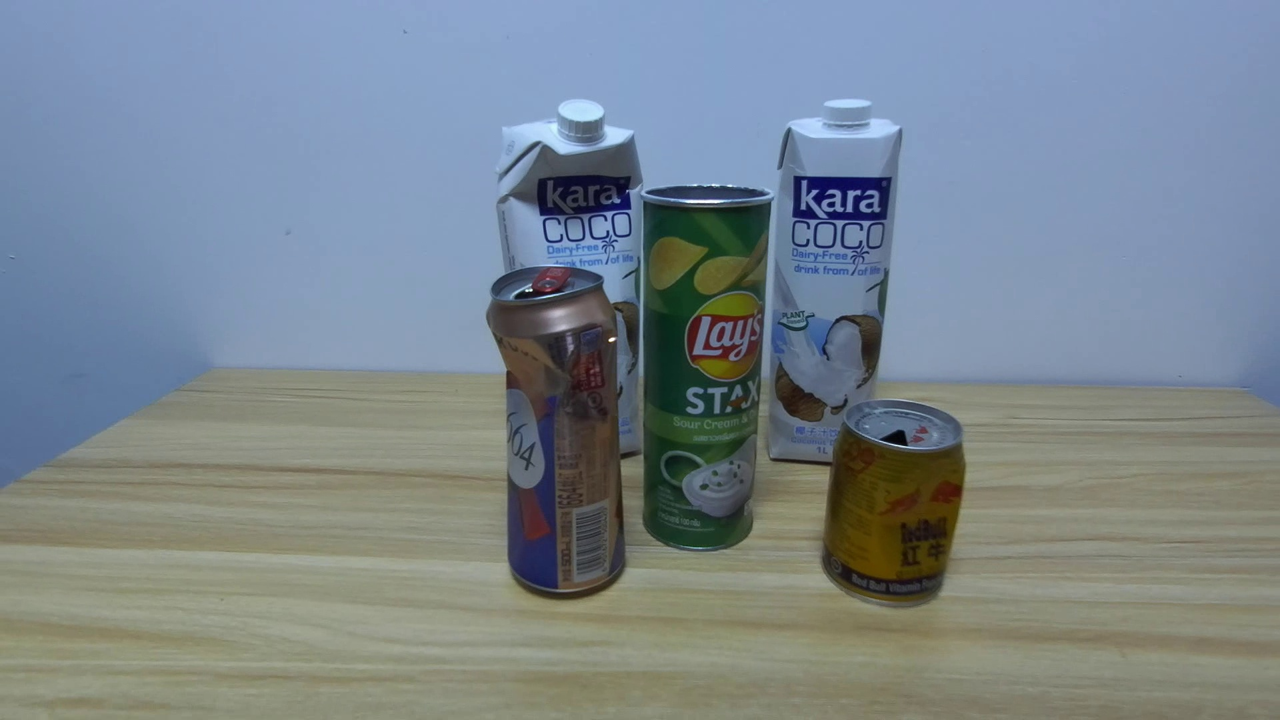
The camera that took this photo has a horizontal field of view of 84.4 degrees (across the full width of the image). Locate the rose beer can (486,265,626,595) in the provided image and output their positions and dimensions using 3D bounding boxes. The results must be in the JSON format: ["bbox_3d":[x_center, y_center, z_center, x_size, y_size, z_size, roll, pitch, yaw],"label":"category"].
[{"bbox_3d":[-0.044,0.040,0.369,0.065,0.167,0.075,-8,23,-13],"label":"rose beer can"}]

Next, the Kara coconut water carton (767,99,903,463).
[{"bbox_3d":[0.130,-0.050,0.489,0.077,0.245,0.075,3,20,11],"label":"Kara coconut water carton"}]

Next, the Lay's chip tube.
[{"bbox_3d":[0.036,0.005,0.404,0.071,0.202,0.071,0,21,0],"label":"Lay's chip tube"}]

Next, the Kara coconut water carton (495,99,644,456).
[{"bbox_3d":[-0.042,-0.051,0.495,0.100,0.244,0.071,-15,24,-27],"label":"Kara coconut water carton"}]
